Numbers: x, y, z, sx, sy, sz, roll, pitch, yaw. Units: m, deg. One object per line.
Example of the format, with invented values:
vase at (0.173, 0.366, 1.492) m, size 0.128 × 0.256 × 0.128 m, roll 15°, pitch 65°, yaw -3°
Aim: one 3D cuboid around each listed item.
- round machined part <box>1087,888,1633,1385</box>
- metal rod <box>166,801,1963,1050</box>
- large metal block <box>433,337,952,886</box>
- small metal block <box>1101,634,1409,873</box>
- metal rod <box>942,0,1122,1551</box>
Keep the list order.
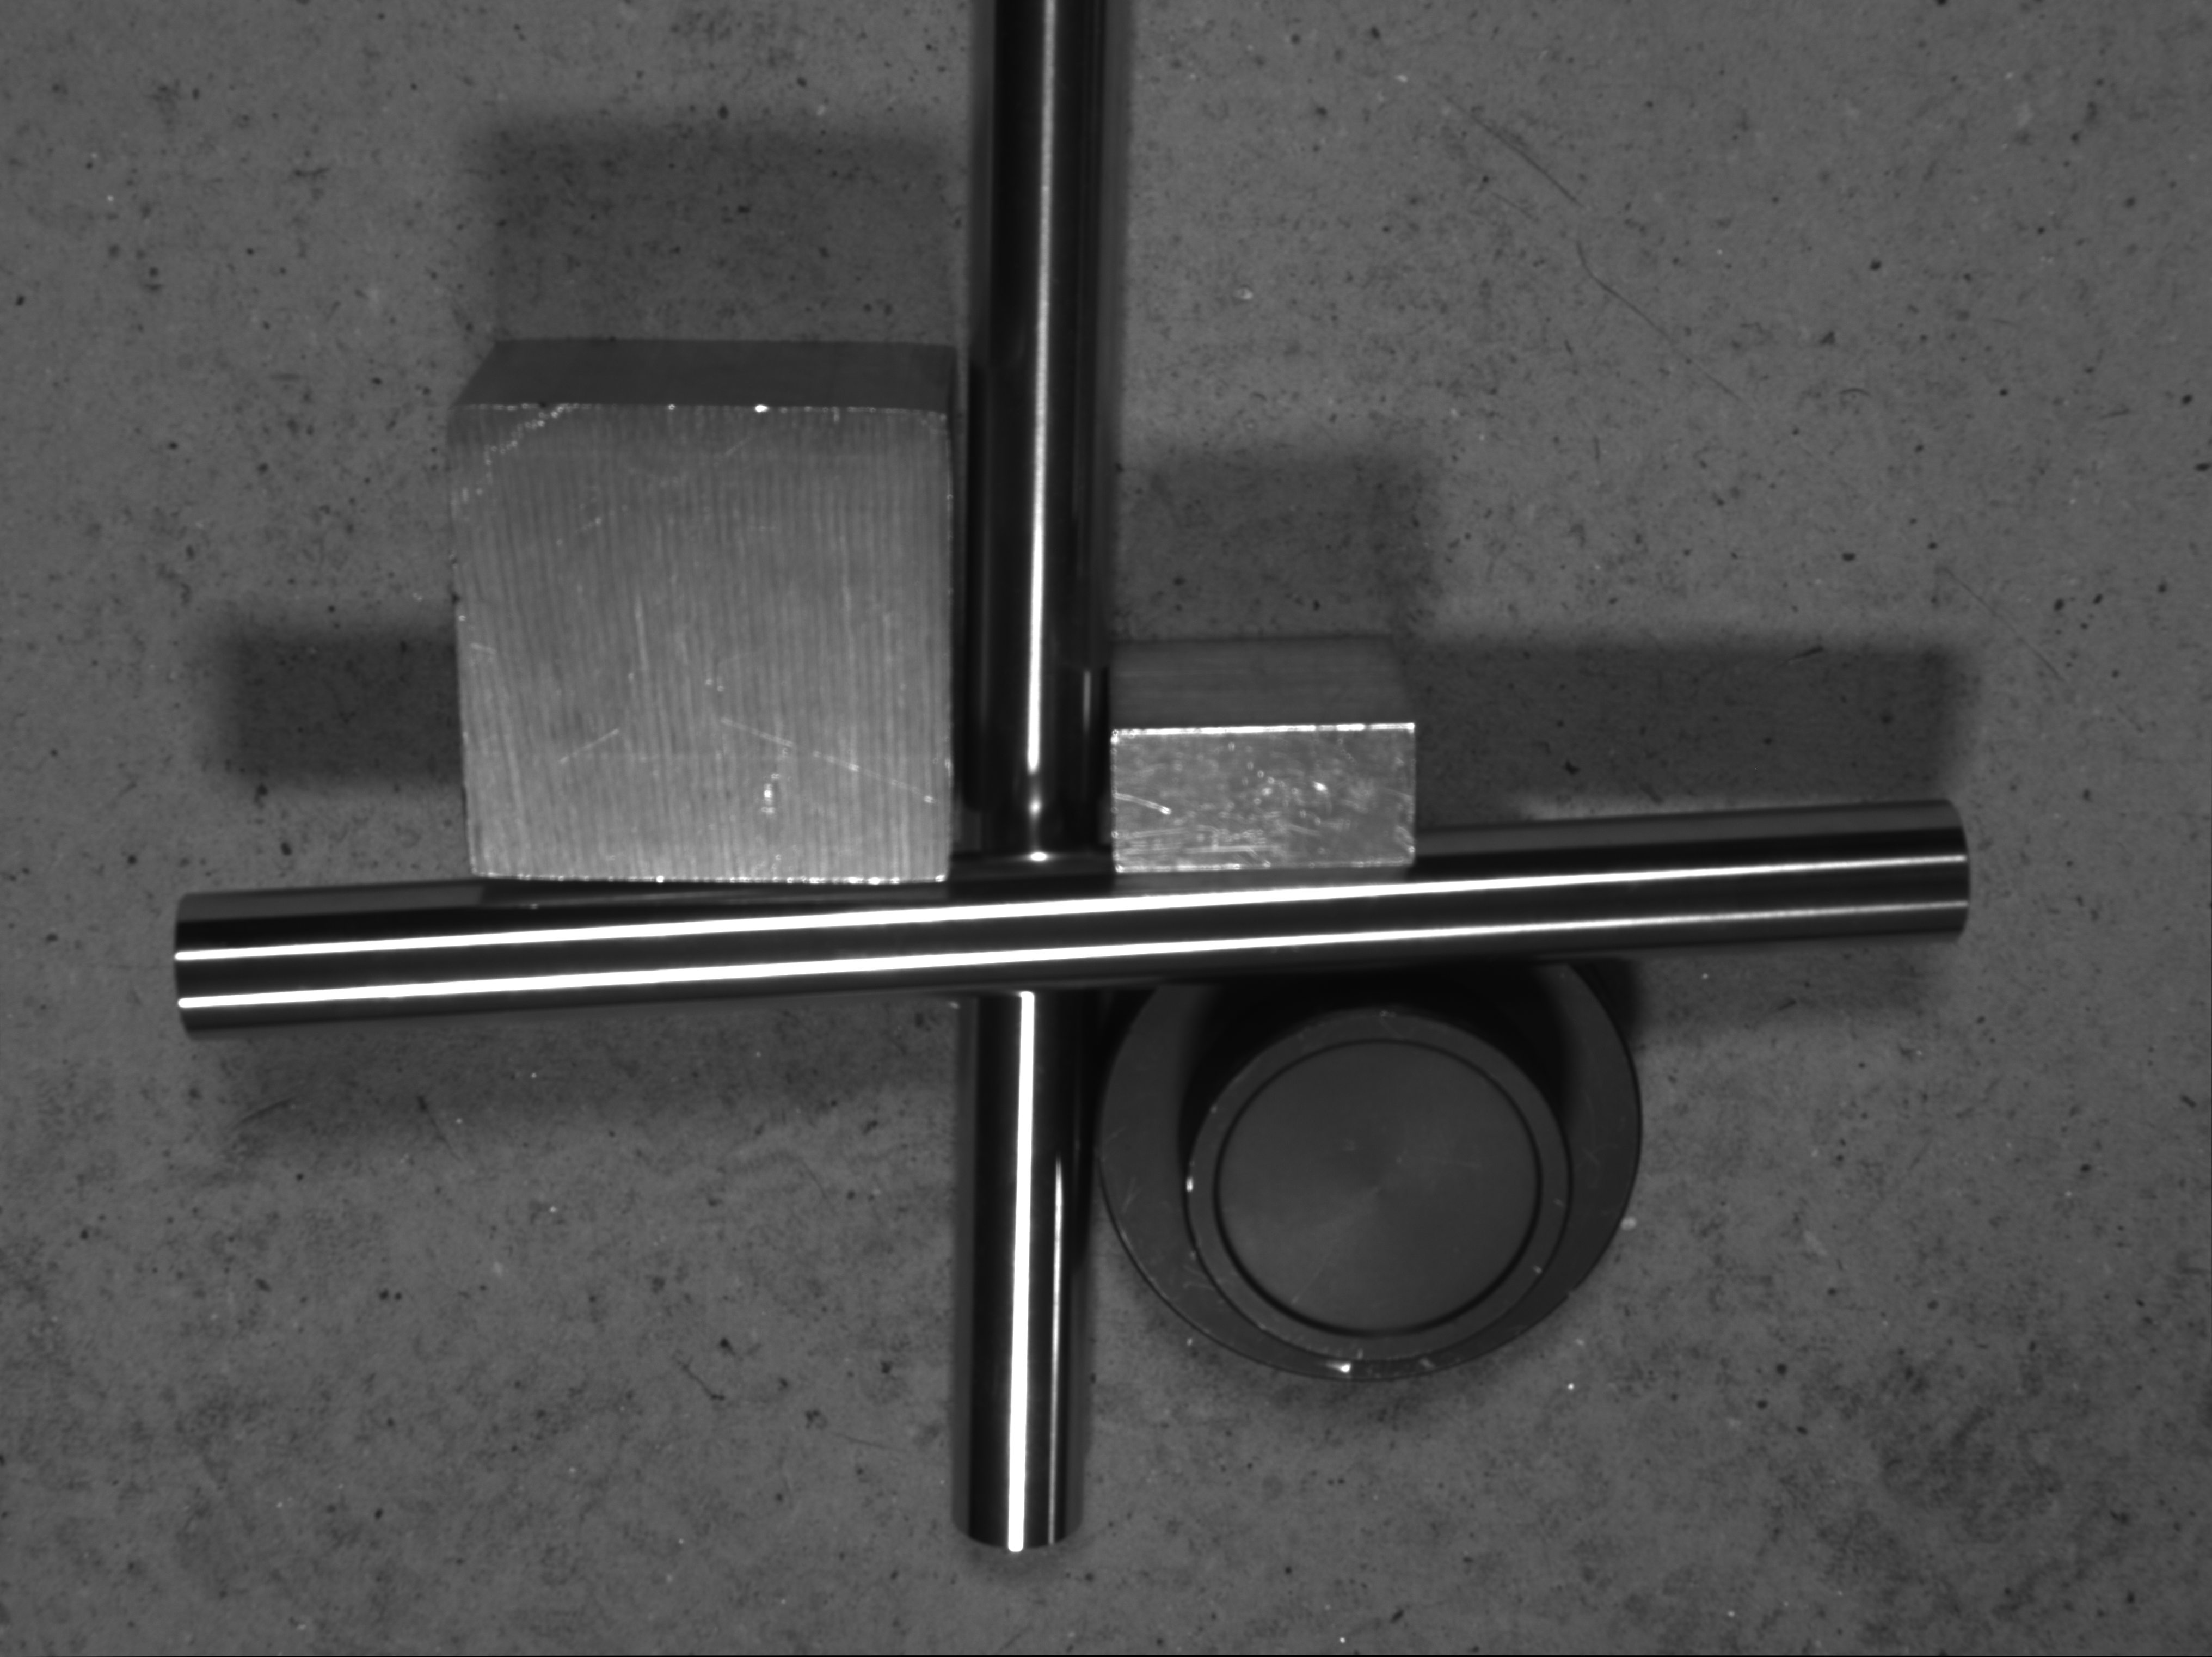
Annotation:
round machined part at (0.046, 0.056, 0.654) m, size 0.098 × 0.042 × 0.098 m, roll 0°, pitch 110°, yaw -1°
metal rod at (-0.005, 0.016, 0.623) m, size 0.300 × 0.025 × 0.025 m, roll -3°, pitch 110°, yaw -4°
large metal block at (-0.067, -0.037, 0.615) m, size 0.080 × 0.050 × 0.080 m, roll 1°, pitch 110°, yaw -1°
small metal block at (0.025, -0.013, 0.626) m, size 0.050 × 0.050 × 0.025 m, roll -1°, pitch 110°, yaw 0°
metal rod at (-0.014, -0.011, 0.639) m, size 0.025 × 0.025 × 0.300 m, roll 1°, pitch 110°, yaw -1°
